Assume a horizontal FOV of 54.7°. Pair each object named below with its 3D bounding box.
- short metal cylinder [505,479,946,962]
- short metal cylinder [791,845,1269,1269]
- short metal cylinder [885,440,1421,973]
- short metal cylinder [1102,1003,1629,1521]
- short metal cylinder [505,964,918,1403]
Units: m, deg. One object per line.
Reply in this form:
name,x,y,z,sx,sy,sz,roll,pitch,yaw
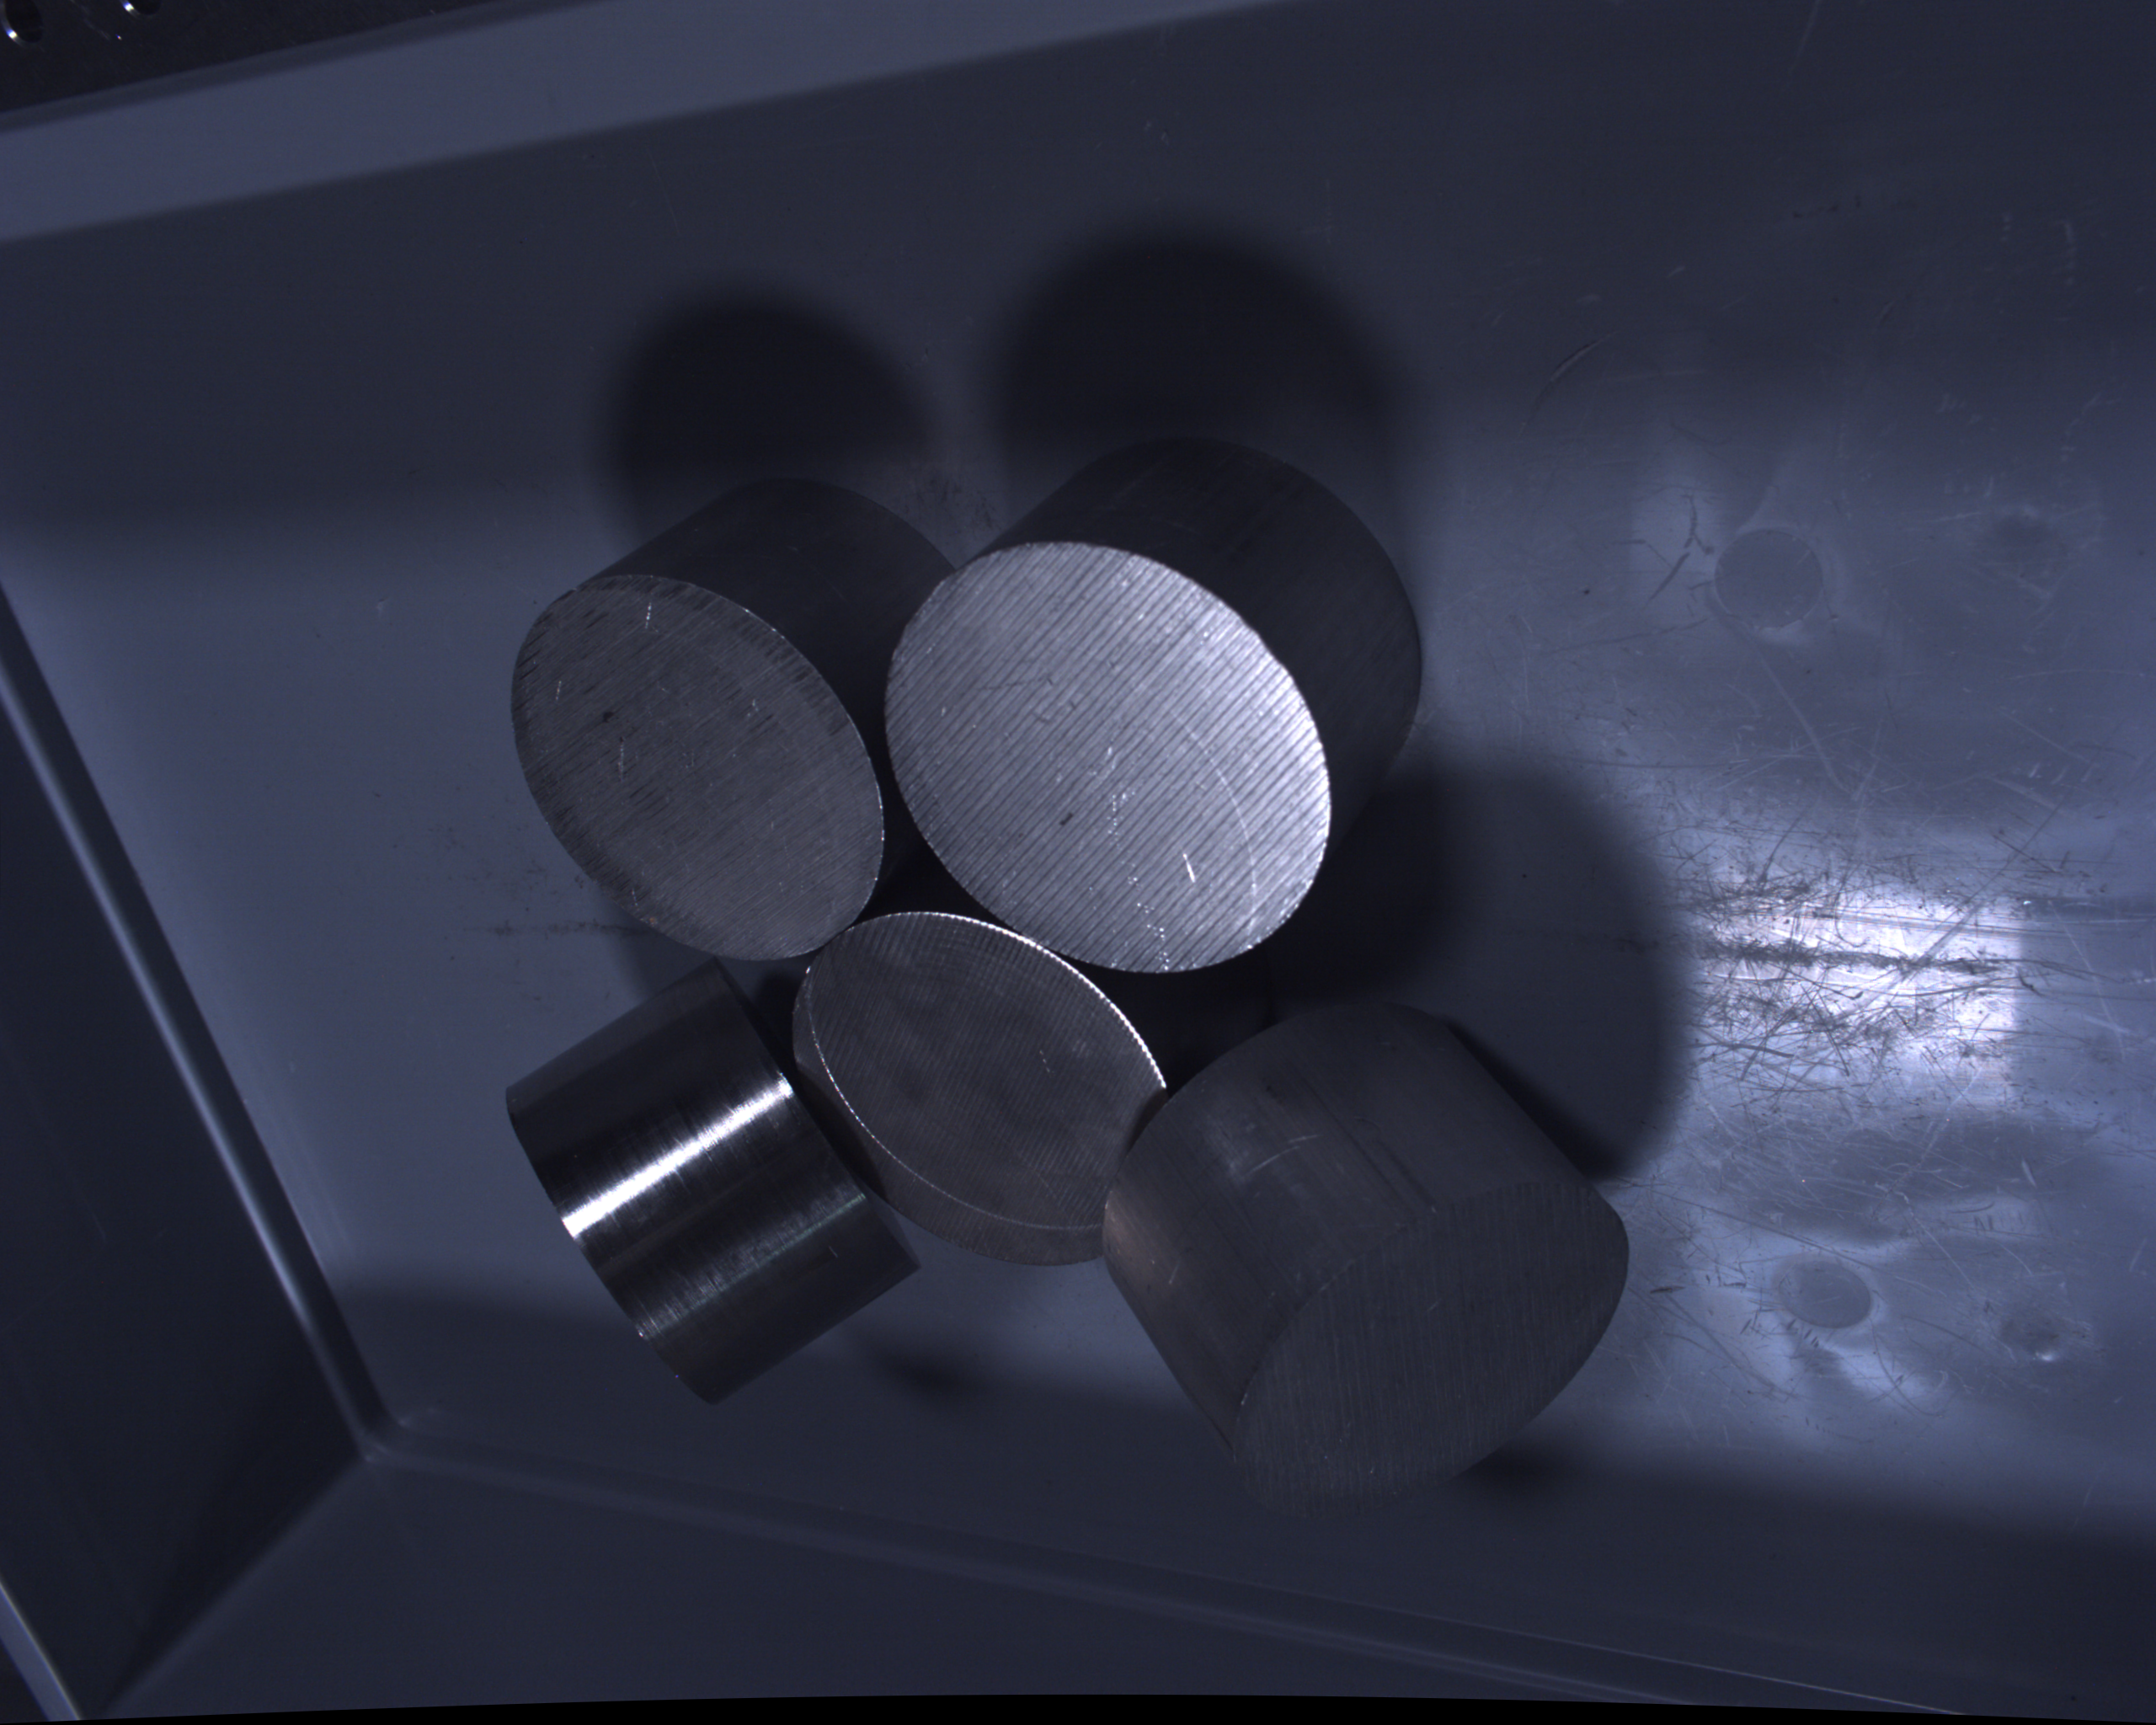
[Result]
short metal cylinder,-0.062,-0.028,0.403,0.080,0.050,0.079,13,124,20
short metal cylinder,-0.009,0.033,0.412,0.080,0.050,0.079,13,124,20
short metal cylinder,0.014,-0.028,0.365,0.080,0.050,0.079,13,124,20
short metal cylinder,0.052,0.072,0.379,0.050,0.081,0.079,51,143,46
short metal cylinder,-0.077,0.067,0.444,0.050,0.080,0.080,-33,104,-7
